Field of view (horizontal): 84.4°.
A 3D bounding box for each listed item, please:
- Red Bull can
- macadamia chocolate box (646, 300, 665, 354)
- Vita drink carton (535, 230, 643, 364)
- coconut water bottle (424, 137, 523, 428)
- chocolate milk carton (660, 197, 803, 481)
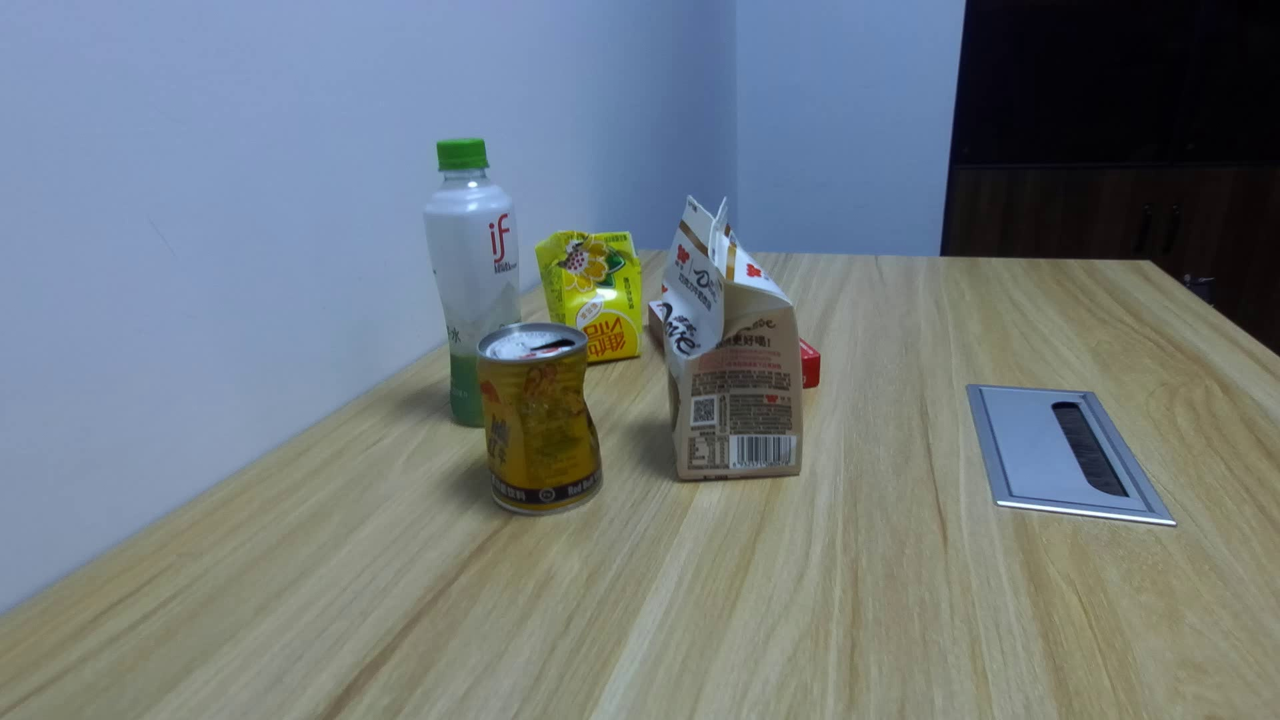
[{"bbox_3d":[-0.055,0.031,0.397,0.072,0.092,0.072,-3,21,1],"label":"Red Bull can"},{"bbox_3d":[0.068,-0.017,0.594,0.096,0.027,0.177,-8,23,-10],"label":"macadamia chocolate box"},{"bbox_3d":[-0.041,-0.054,0.595,0.087,0.108,0.042,-8,9,-19],"label":"Vita drink carton"},{"bbox_3d":[-0.110,-0.051,0.481,0.063,0.189,0.063,-3,20,1],"label":"coconut water bottle"},{"bbox_3d":[0.052,-0.015,0.412,0.073,0.156,0.076,-5,22,0],"label":"chocolate milk carton"}]
